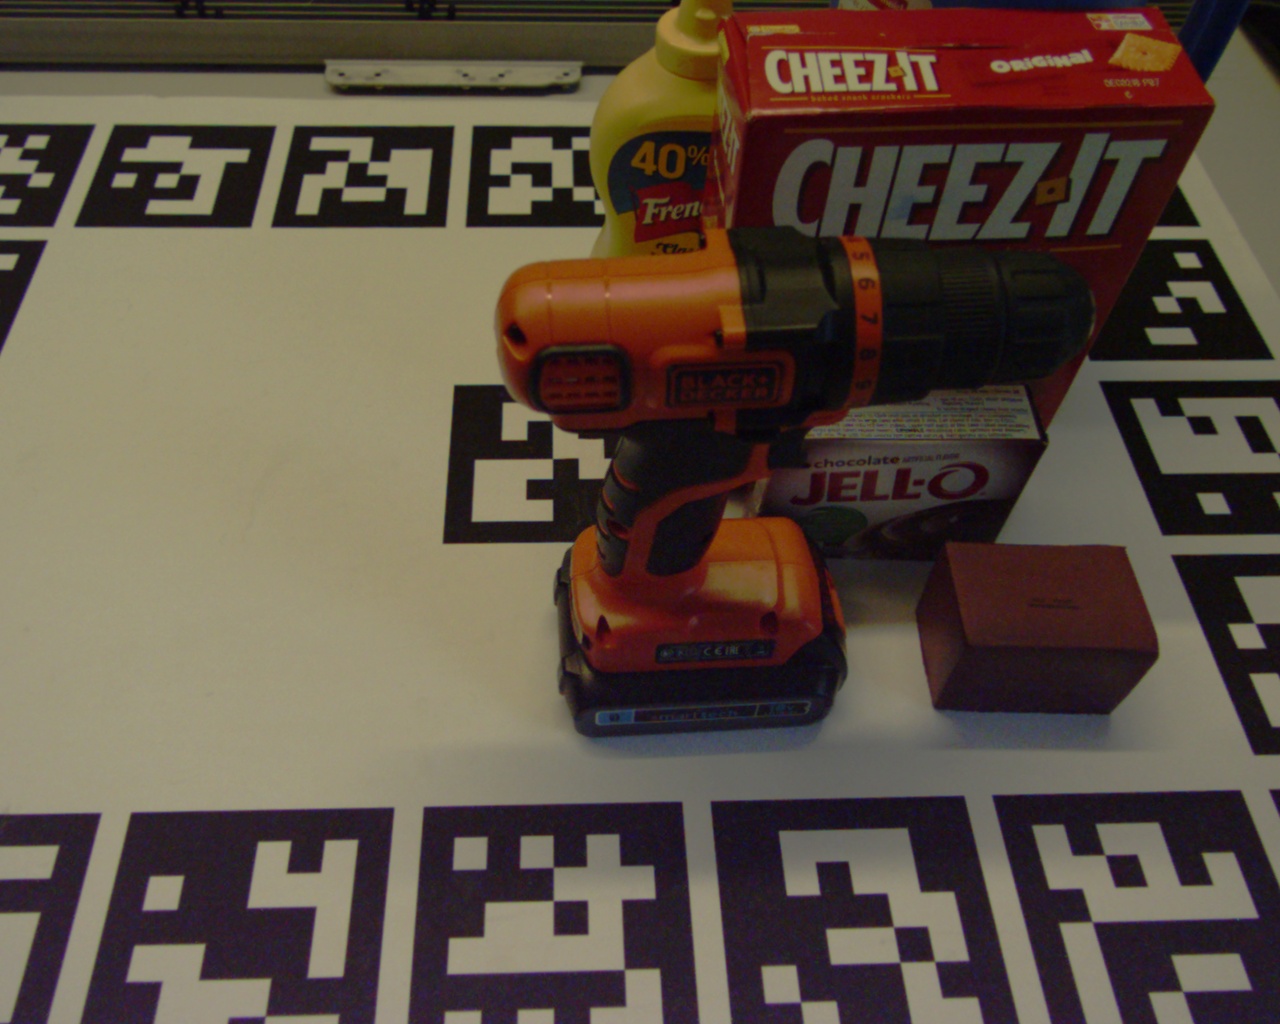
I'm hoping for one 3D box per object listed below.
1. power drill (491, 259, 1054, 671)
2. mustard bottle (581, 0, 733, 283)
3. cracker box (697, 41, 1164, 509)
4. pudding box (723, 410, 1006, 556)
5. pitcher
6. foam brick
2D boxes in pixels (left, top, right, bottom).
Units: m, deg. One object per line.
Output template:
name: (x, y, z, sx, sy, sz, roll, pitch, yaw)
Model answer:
power drill: (0.040, -0.011, 0.427, 0.184, 0.186, 0.057, 0, 51, -3)
mustard bottle: (0.019, -0.172, 0.569, 0.096, 0.191, 0.058, 12, 56, 6)
cracker box: (0.107, -0.091, 0.506, 0.164, 0.213, 0.072, -2, 53, -1)
pudding box: (0.098, -0.020, 0.521, 0.114, 0.089, 0.039, 0, 53, 1)
pitcher: (0.153, -0.176, 0.563, 0.189, 0.242, 0.133, 5, 54, 3)
foam brick: (0.154, 0.052, 0.510, 0.078, 0.051, 0.053, 3, 56, 0)
